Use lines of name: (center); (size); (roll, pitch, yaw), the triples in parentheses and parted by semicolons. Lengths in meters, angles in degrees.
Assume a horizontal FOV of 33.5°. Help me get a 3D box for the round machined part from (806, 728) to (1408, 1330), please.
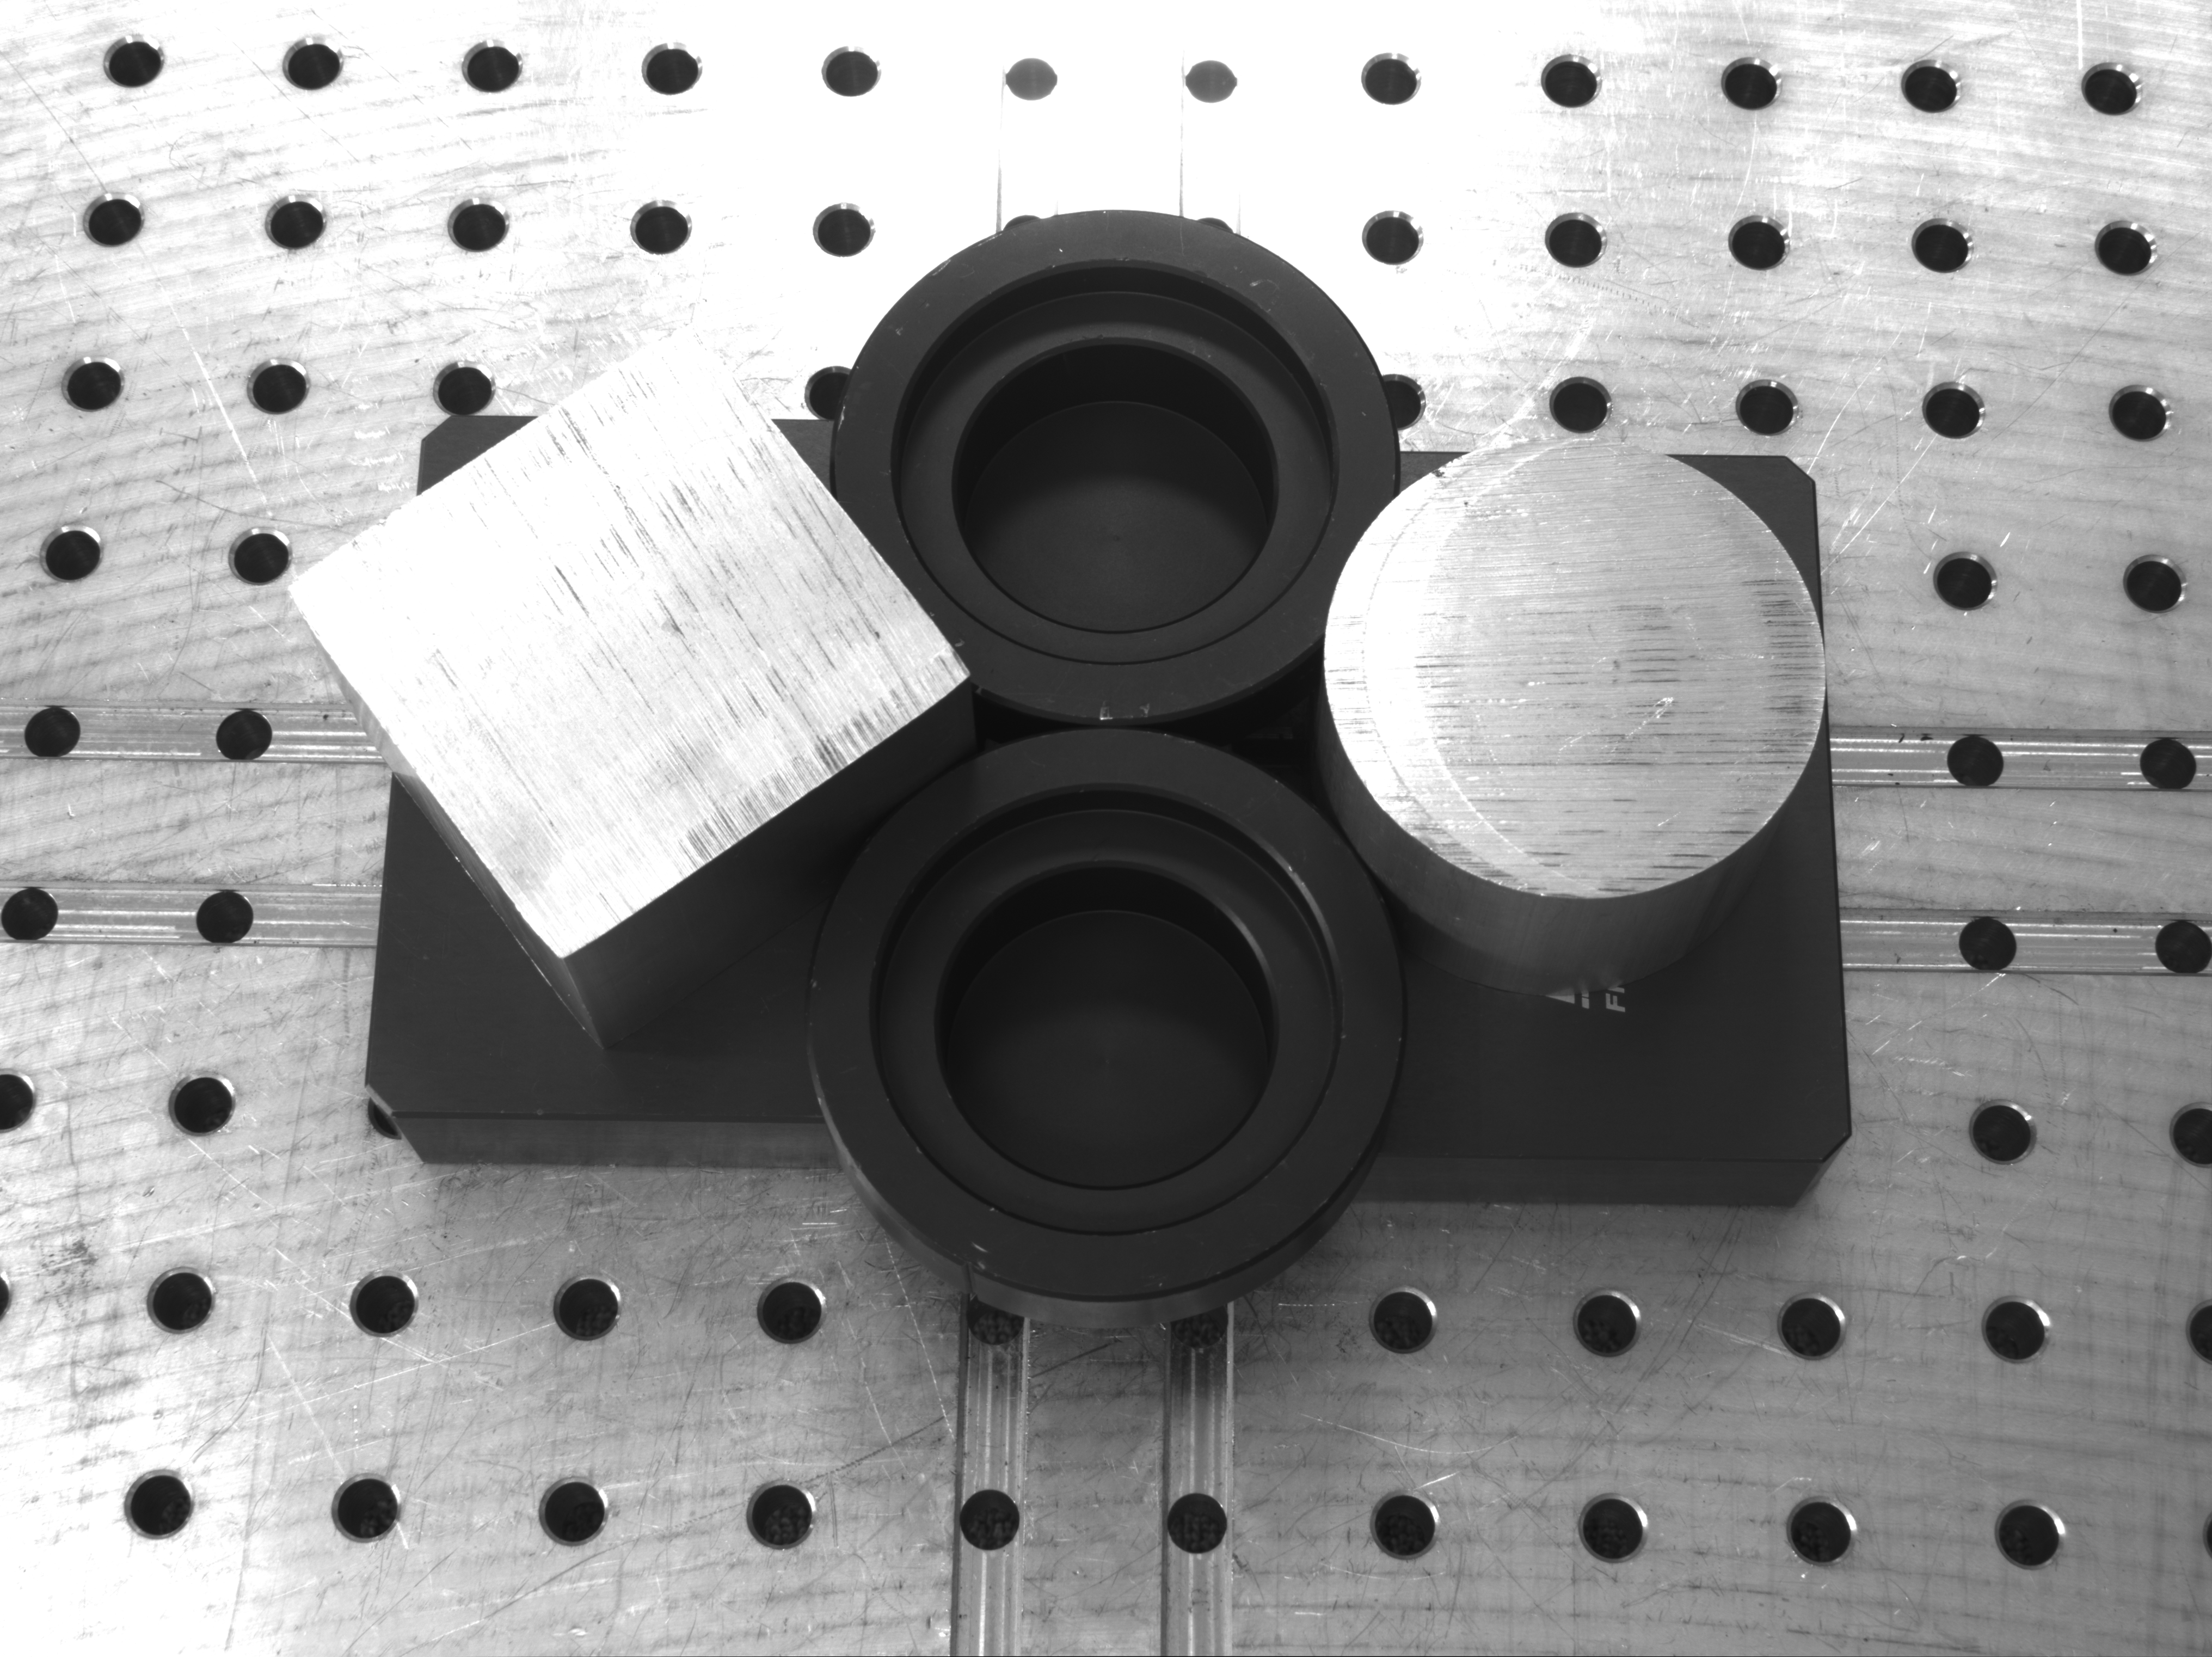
round machined part: (0.000, 0.036, 0.616); (0.098, 0.042, 0.098); (0, 70, 0)

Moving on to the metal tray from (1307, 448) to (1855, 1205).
metal tray: (0.080, -0.001, 0.644); (0.090, 0.030, 0.130); (1, 70, 0)

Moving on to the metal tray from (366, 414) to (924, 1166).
metal tray: (-0.078, -0.008, 0.648); (0.090, 0.030, 0.130); (1, 70, -1)

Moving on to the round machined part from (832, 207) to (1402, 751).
round machined part: (0.002, -0.057, 0.650); (0.098, 0.042, 0.098); (0, 70, 0)

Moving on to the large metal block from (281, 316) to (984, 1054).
large metal block: (-0.076, -0.023, 0.611); (0.080, 0.050, 0.080); (-35, 74, -12)

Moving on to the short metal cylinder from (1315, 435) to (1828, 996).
short metal cylinder: (0.075, -0.018, 0.608); (0.080, 0.050, 0.080); (0, 70, 0)
